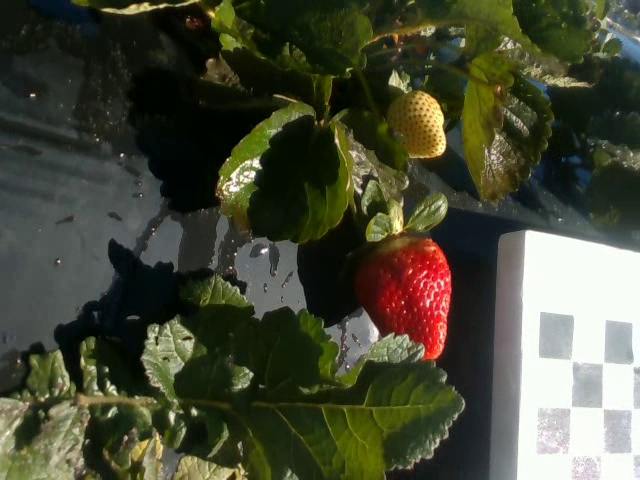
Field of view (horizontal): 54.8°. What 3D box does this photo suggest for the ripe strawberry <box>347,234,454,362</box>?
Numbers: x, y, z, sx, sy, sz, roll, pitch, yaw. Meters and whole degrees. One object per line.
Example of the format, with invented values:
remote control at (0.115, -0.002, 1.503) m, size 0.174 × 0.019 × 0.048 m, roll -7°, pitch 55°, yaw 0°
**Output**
ripe strawberry at (0.043, 0.029, 0.287) m, size 0.048 × 0.069 × 0.040 m, roll -11°, pitch -7°, yaw -26°
